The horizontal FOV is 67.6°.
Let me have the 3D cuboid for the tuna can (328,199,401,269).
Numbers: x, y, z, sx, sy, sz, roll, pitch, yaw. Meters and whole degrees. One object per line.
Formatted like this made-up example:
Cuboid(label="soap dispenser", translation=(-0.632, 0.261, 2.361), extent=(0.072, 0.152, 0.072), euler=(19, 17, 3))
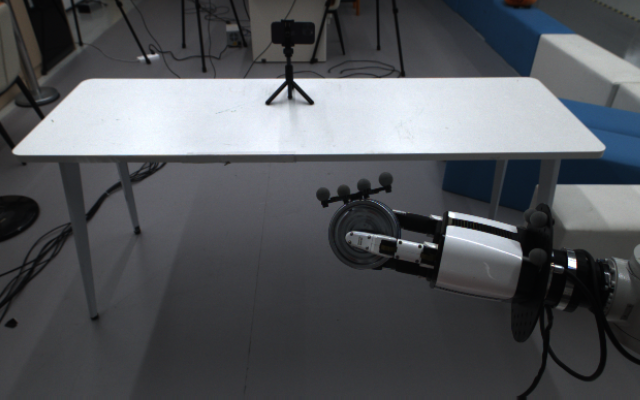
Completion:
Cuboid(label="tuna can", translation=(0.057, 0.039, 0.588), extent=(0.085, 0.085, 0.034), euler=(12, 3, 14))
